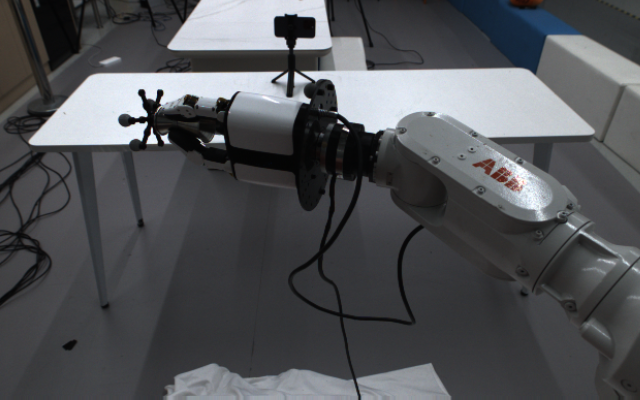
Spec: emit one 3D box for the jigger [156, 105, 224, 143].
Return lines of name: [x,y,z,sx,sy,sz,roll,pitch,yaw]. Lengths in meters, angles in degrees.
jigger: [-0.172,-0.105,0.634,0.071,0.043,0.043,9,35,16]
